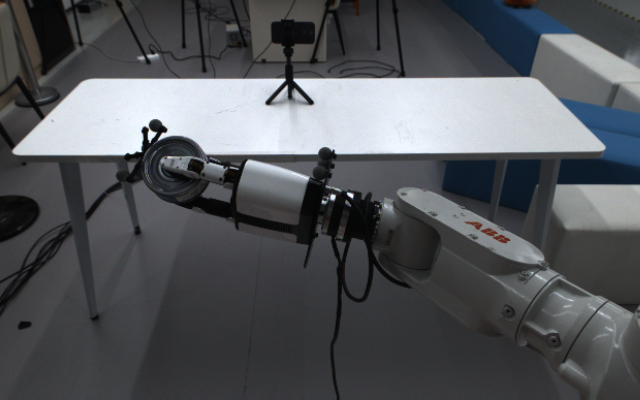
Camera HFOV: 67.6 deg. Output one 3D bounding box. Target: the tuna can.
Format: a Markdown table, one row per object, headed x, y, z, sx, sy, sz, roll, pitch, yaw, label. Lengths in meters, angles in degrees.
| x | y | z | sx | sy | sz | roll | pitch | yaw | label |
| --- | --- | --- | --- | --- | --- | --- | --- | --- | --- |
| -0.188 | -0.042 | 0.639 | 0.085 | 0.034 | 0.085 | 0 | 76 | -1 | tuna can |
